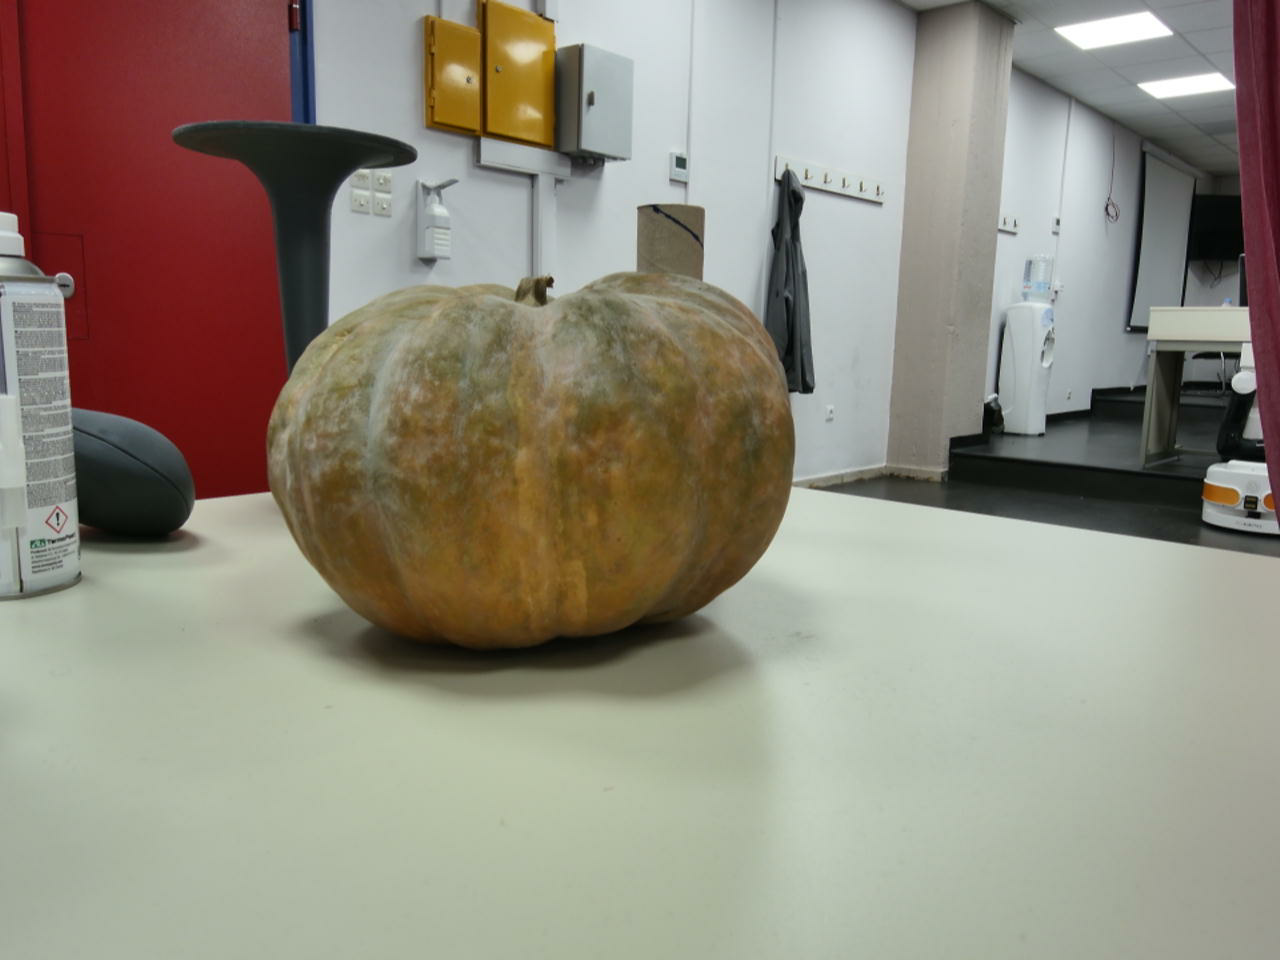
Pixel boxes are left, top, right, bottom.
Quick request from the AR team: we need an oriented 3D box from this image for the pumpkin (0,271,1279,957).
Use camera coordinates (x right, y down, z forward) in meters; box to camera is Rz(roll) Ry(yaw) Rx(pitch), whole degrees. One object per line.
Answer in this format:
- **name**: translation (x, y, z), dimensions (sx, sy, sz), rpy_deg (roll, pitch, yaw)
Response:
- **pumpkin**: translation (-0.050, -0.016, 0.481), dimensions (0.252, 0.168, 0.252), rpy_deg (0, 7, 0)
